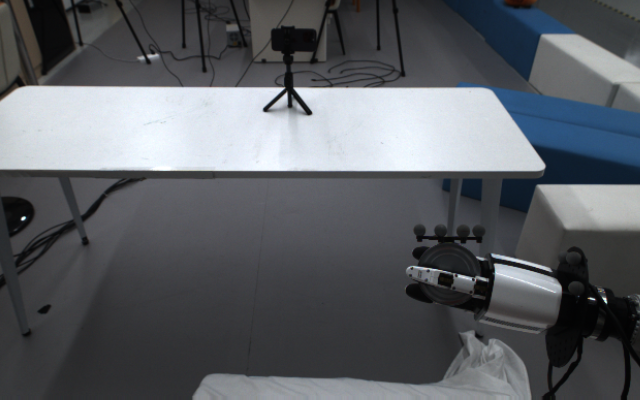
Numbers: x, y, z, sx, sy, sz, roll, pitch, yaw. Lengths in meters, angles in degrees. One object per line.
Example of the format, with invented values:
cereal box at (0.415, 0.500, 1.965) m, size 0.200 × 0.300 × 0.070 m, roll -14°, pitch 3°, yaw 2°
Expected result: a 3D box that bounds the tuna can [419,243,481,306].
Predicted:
tuna can at (0.179, 0.099, 0.670) m, size 0.085 × 0.085 × 0.034 m, roll 16°, pitch 1°, yaw 19°
